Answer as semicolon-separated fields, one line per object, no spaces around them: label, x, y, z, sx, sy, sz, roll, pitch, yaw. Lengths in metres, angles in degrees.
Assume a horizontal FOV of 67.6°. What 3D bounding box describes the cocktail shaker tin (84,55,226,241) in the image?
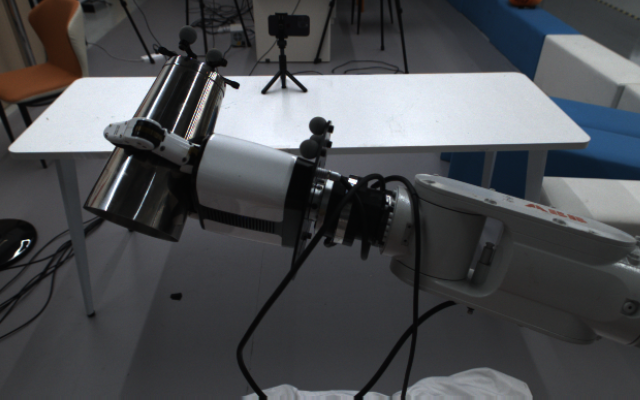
cocktail shaker tin;-0.153;-0.051;0.483;0.093;0.093;0.170;13;73;16
